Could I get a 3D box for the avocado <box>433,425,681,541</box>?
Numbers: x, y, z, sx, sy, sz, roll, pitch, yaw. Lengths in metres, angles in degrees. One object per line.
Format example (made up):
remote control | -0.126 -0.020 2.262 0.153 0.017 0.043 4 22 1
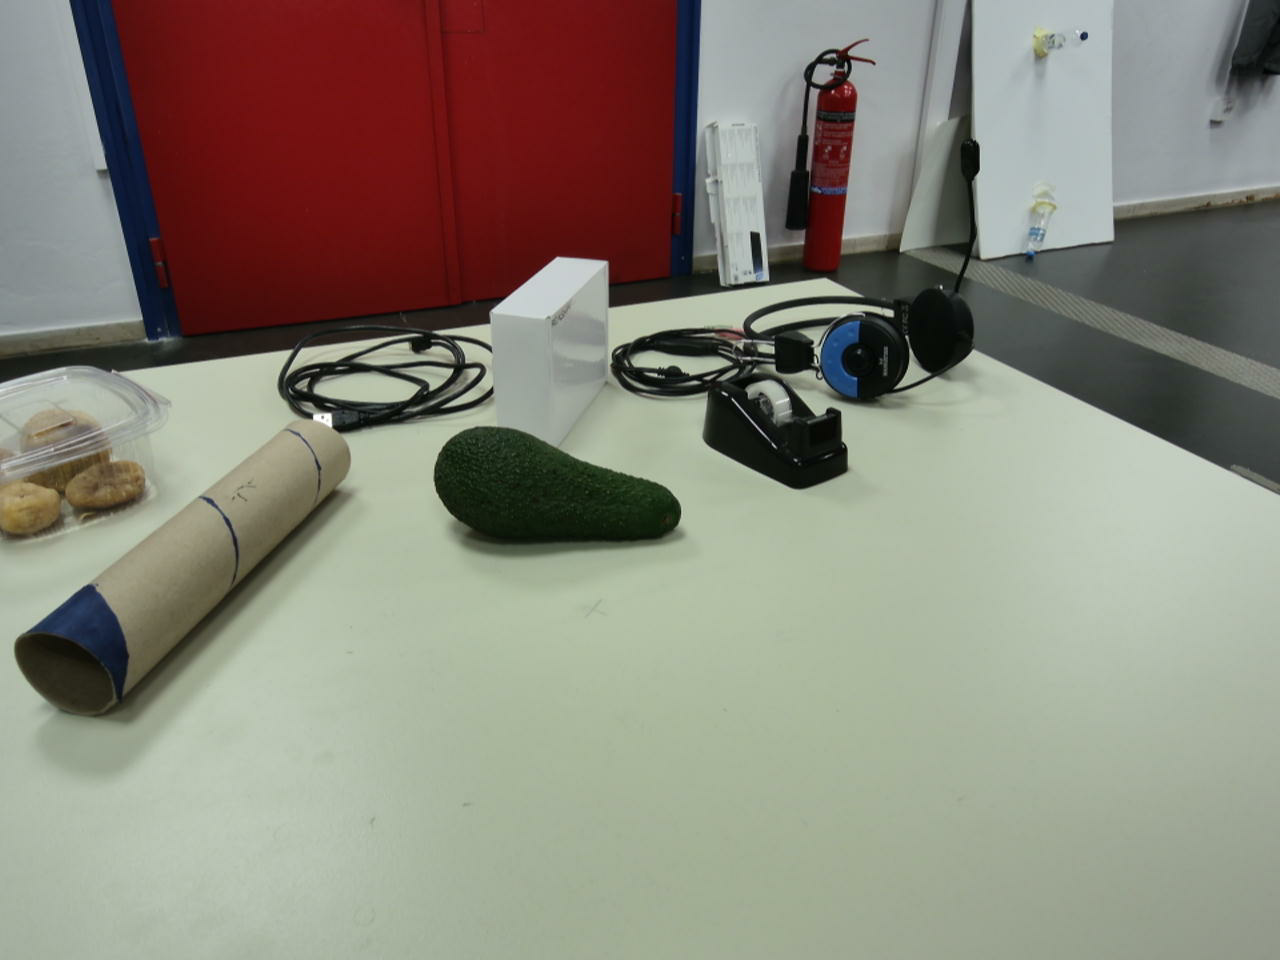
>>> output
avocado | -0.048 -0.001 0.577 0.141 0.067 0.063 -3 27 -9
